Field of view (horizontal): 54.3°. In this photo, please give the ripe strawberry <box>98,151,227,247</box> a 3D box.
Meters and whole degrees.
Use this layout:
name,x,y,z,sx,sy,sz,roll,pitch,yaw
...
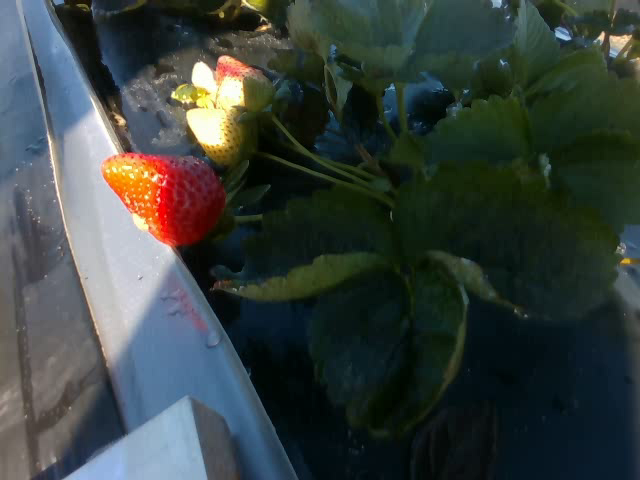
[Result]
name,x,y,z,sx,sy,sz,roll,pitch,yaw
ripe strawberry,-0.054,-0.016,0.207,0.045,0.038,0.036,32,18,-37
